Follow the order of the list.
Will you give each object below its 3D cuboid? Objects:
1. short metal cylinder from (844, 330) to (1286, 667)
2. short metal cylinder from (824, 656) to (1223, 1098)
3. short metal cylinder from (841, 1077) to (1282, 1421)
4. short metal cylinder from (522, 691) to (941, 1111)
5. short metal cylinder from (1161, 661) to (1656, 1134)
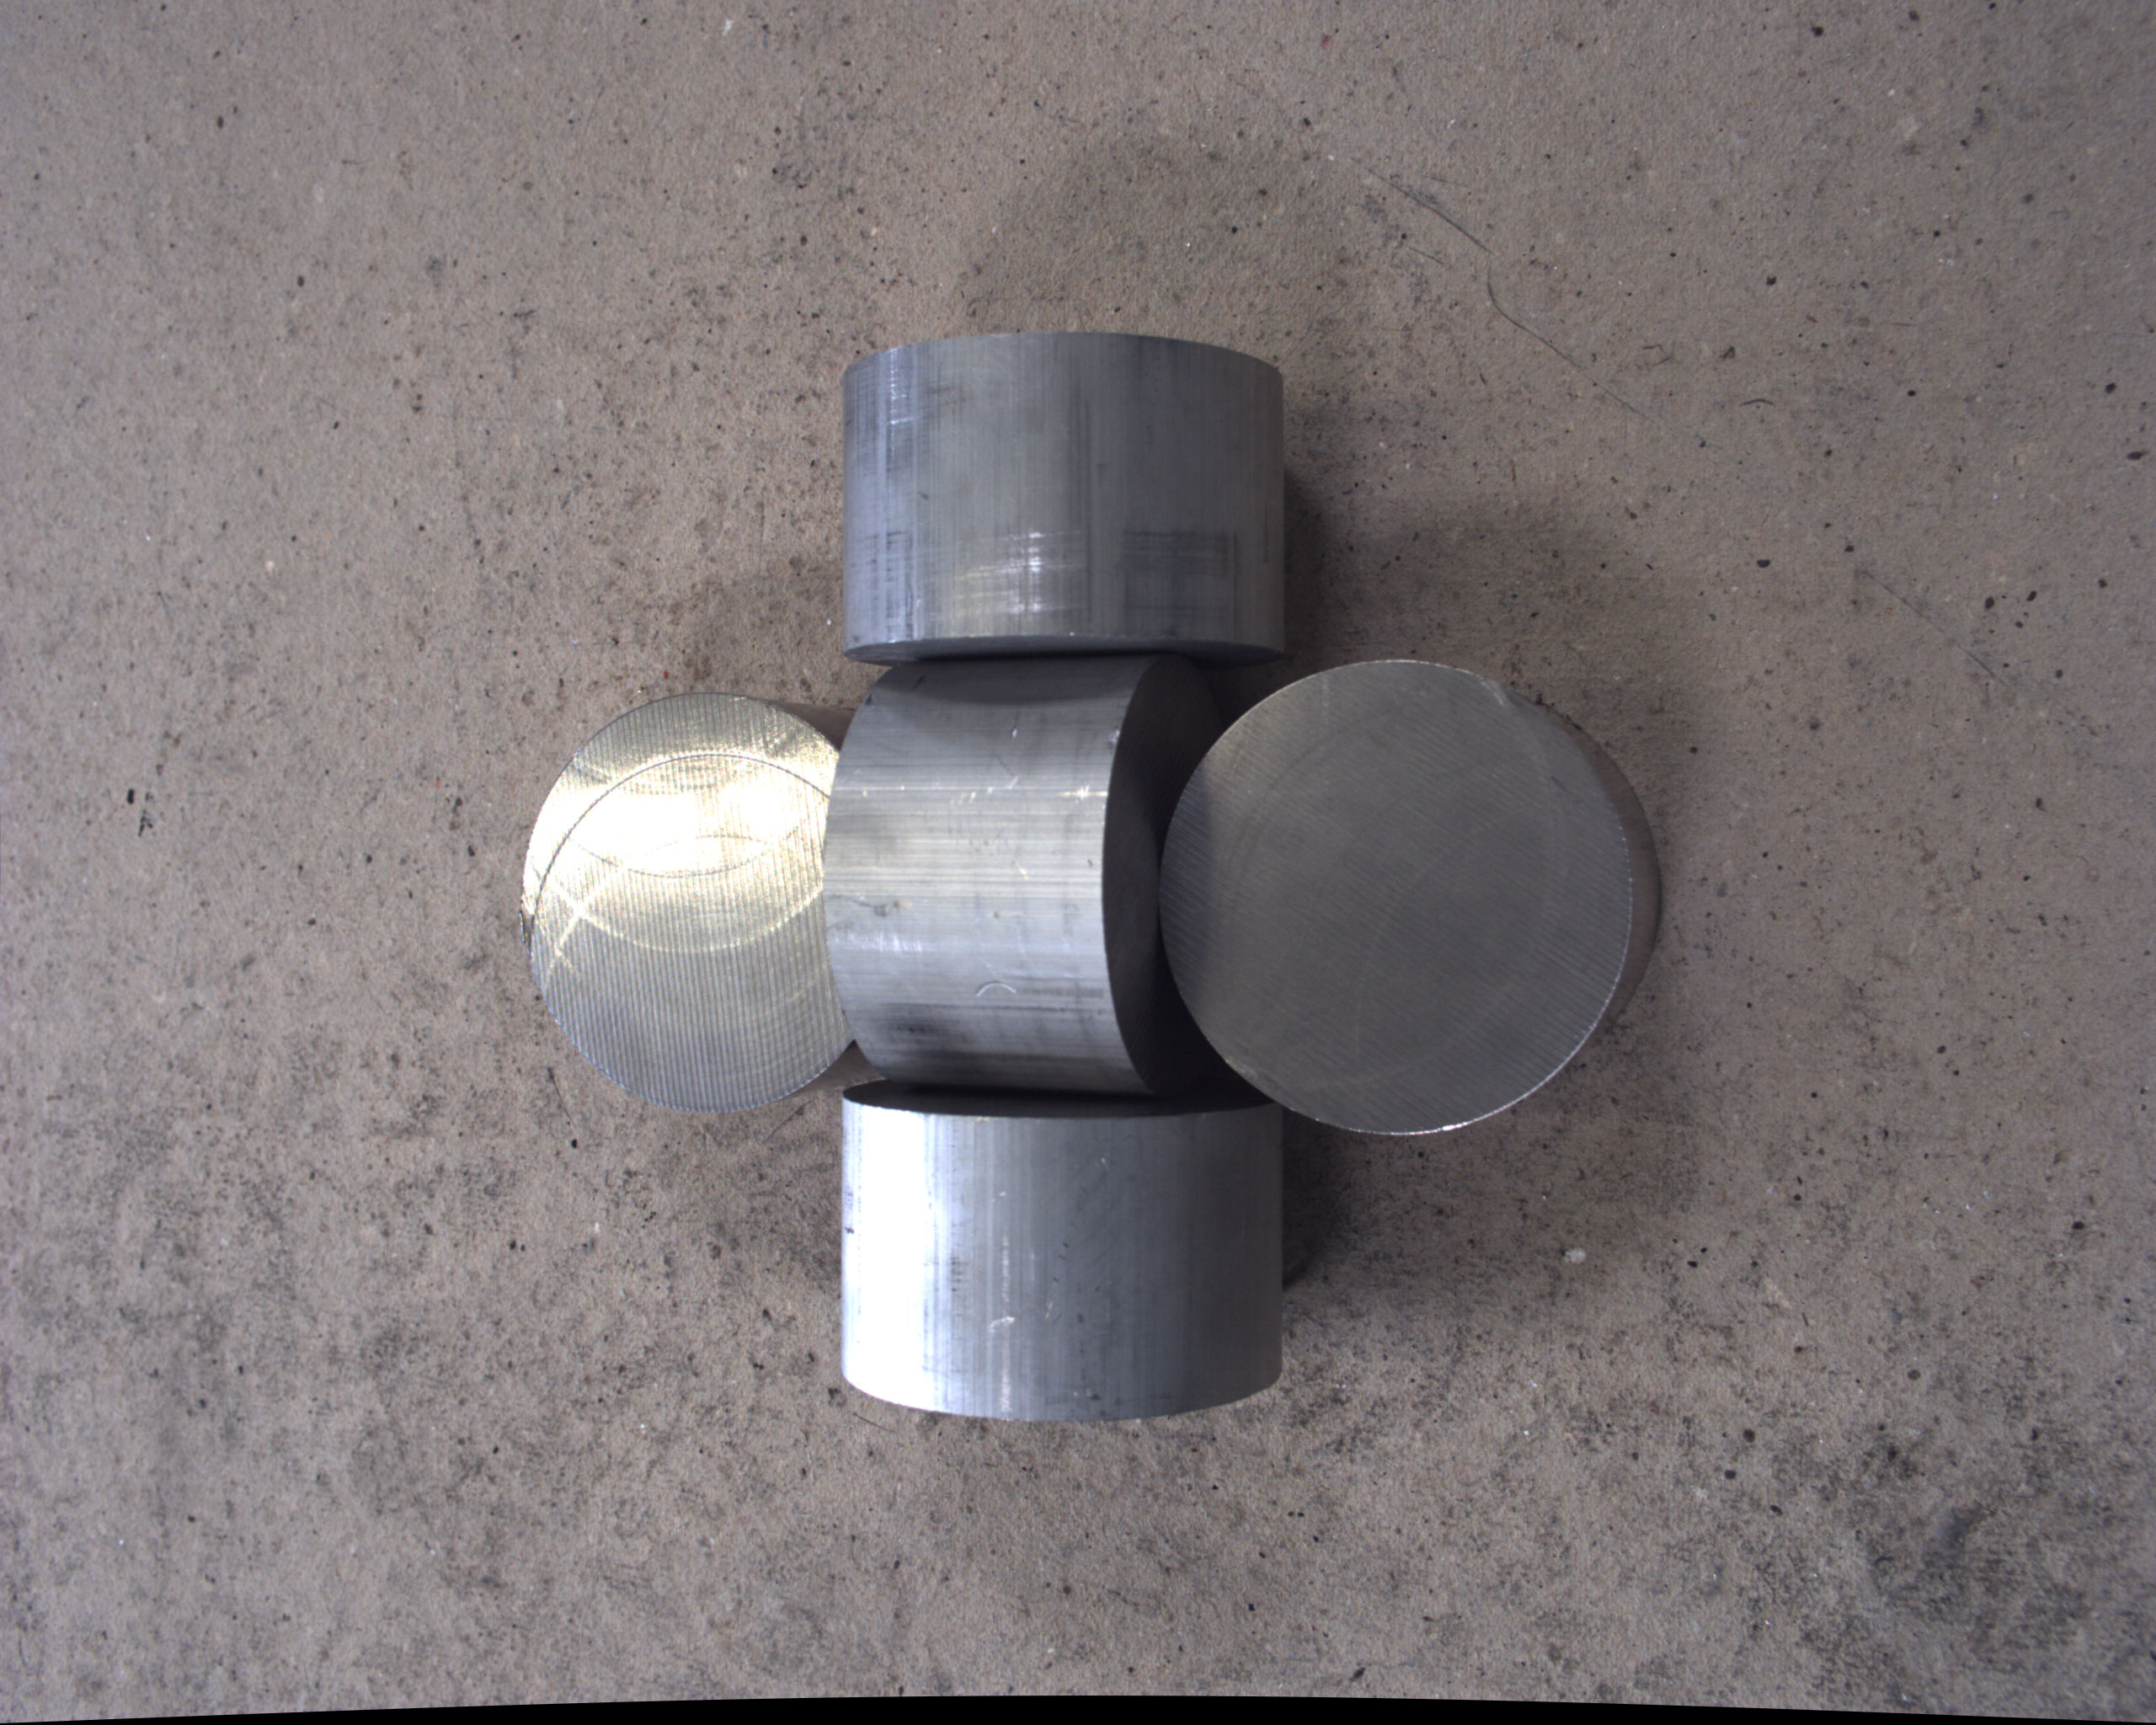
[{"bbox_3d":[-0.002,-0.063,0.382,0.080,0.080,0.050,0,90,20],"label":"short metal cylinder"},{"bbox_3d":[-0.006,0.002,0.383,0.050,0.080,0.080,1,90,20],"label":"short metal cylinder"},{"bbox_3d":[-0.003,0.067,0.383,0.080,0.080,0.050,0,90,20],"label":"short metal cylinder"},{"bbox_3d":[-0.063,0.007,0.419,0.080,0.050,0.080,0,90,19],"label":"short metal cylinder"},{"bbox_3d":[0.061,0.006,0.375,0.080,0.050,0.080,0,90,20],"label":"short metal cylinder"}]
